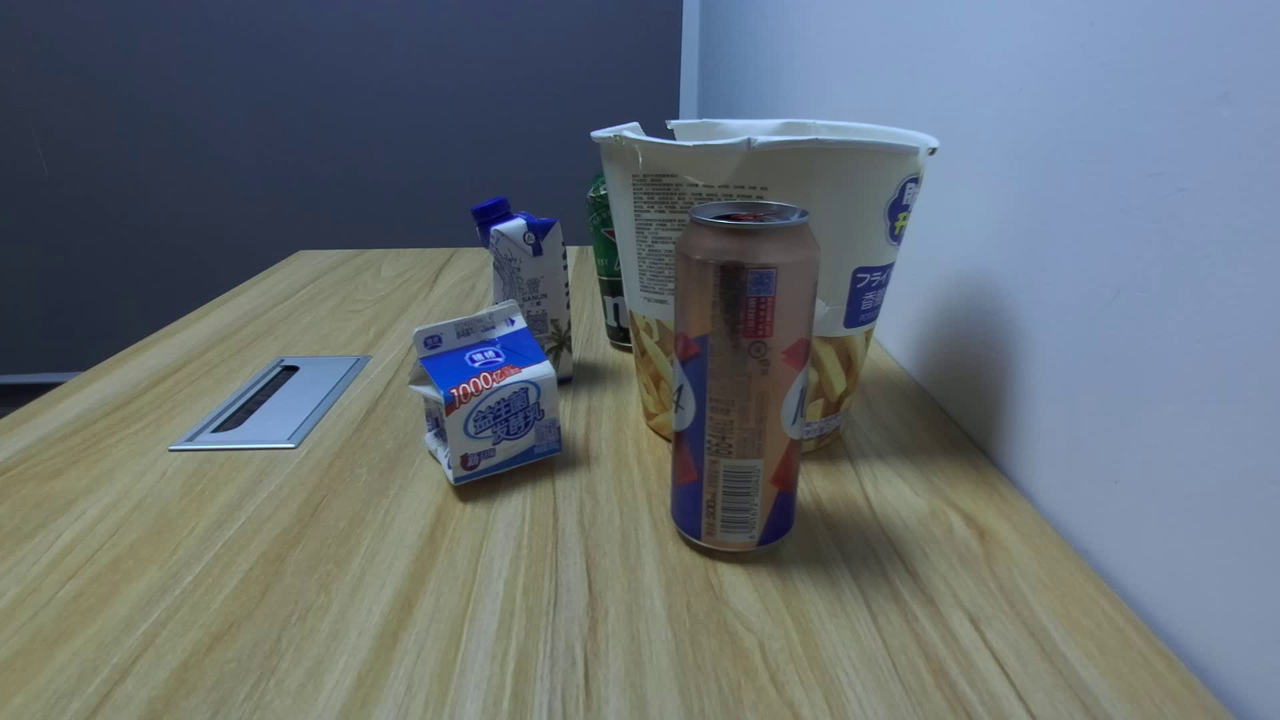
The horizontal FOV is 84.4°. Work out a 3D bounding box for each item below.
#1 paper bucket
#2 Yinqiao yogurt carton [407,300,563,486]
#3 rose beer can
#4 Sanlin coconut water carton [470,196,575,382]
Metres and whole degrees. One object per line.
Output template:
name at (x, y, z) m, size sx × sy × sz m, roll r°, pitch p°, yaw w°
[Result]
paper bucket at (0.069, -0.054, 0.468) m, size 0.202 × 0.197 × 0.146 m, roll 3°, pitch 21°, yaw 6°
Yinqiao yogurt carton at (-0.101, 0.016, 0.438) m, size 0.075 × 0.097 × 0.080 m, roll -17°, pitch 19°, yaw -33°
rose beer can at (0.050, 0.012, 0.350) m, size 0.068 × 0.169 × 0.068 m, roll -1°, pitch 21°, yaw 1°
Sanlin coconut water carton at (-0.086, -0.053, 0.543) m, size 0.070 × 0.144 × 0.060 m, roll -9°, pitch 22°, yaw -18°
